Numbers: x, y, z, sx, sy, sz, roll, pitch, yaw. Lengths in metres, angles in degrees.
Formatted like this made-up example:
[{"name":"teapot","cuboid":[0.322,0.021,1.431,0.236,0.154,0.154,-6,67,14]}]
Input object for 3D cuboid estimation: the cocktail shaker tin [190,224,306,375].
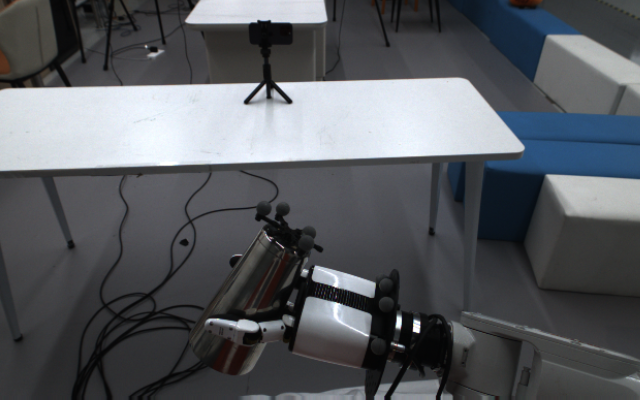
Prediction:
[{"name":"cocktail shaker tin","cuboid":[-0.078,0.114,0.588,0.093,0.170,0.093,27,14,-7]}]
